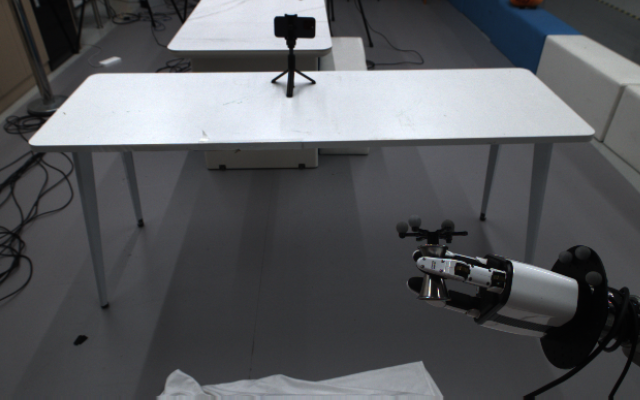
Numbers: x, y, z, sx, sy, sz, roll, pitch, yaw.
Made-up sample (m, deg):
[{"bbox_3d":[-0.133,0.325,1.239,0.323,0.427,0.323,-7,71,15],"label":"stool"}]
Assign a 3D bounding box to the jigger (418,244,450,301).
[{"bbox_3d":[0.147,0.092,0.627,0.043,0.043,0.071,2,76,0],"label":"jigger"}]
